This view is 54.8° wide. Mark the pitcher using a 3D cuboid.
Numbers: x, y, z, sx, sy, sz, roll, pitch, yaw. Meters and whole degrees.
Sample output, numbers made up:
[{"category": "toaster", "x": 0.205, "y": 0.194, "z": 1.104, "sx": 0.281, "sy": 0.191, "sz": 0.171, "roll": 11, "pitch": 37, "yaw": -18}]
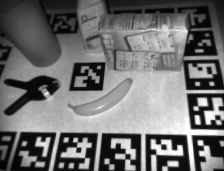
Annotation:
[{"category": "pitcher", "x": -0.266, "y": -0.185, "z": 0.620, "sx": 0.189, "sy": 0.244, "sz": 0.132, "roll": -15, "pitch": 58, "yaw": -2}]

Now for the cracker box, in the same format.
[{"category": "cracker box", "x": 0.075, "y": -0.132, "z": 0.594, "sx": 0.212, "sy": 0.165, "sz": 0.072, "roll": 1, "pitch": 58, "yaw": 11}]

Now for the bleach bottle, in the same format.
[{"category": "bleach bottle", "x": -0.075, "y": -0.210, "z": 0.629, "sx": 0.102, "sy": 0.253, "sz": 0.067, "roll": -1, "pitch": 60, "yaw": 10}]

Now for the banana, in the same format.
[{"category": "banana", "x": -0.032, "y": 0.016, "z": 0.625, "sx": 0.198, "sy": 0.039, "sz": 0.073, "roll": -30, "pitch": 60, "yaw": -8}]

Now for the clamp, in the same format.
[{"category": "clamp", "x": -0.248, "y": -0.008, "z": 0.662, "sx": 0.165, "sy": 0.037, "sz": 0.121, "roll": -13, "pitch": 58, "yaw": -1}]
